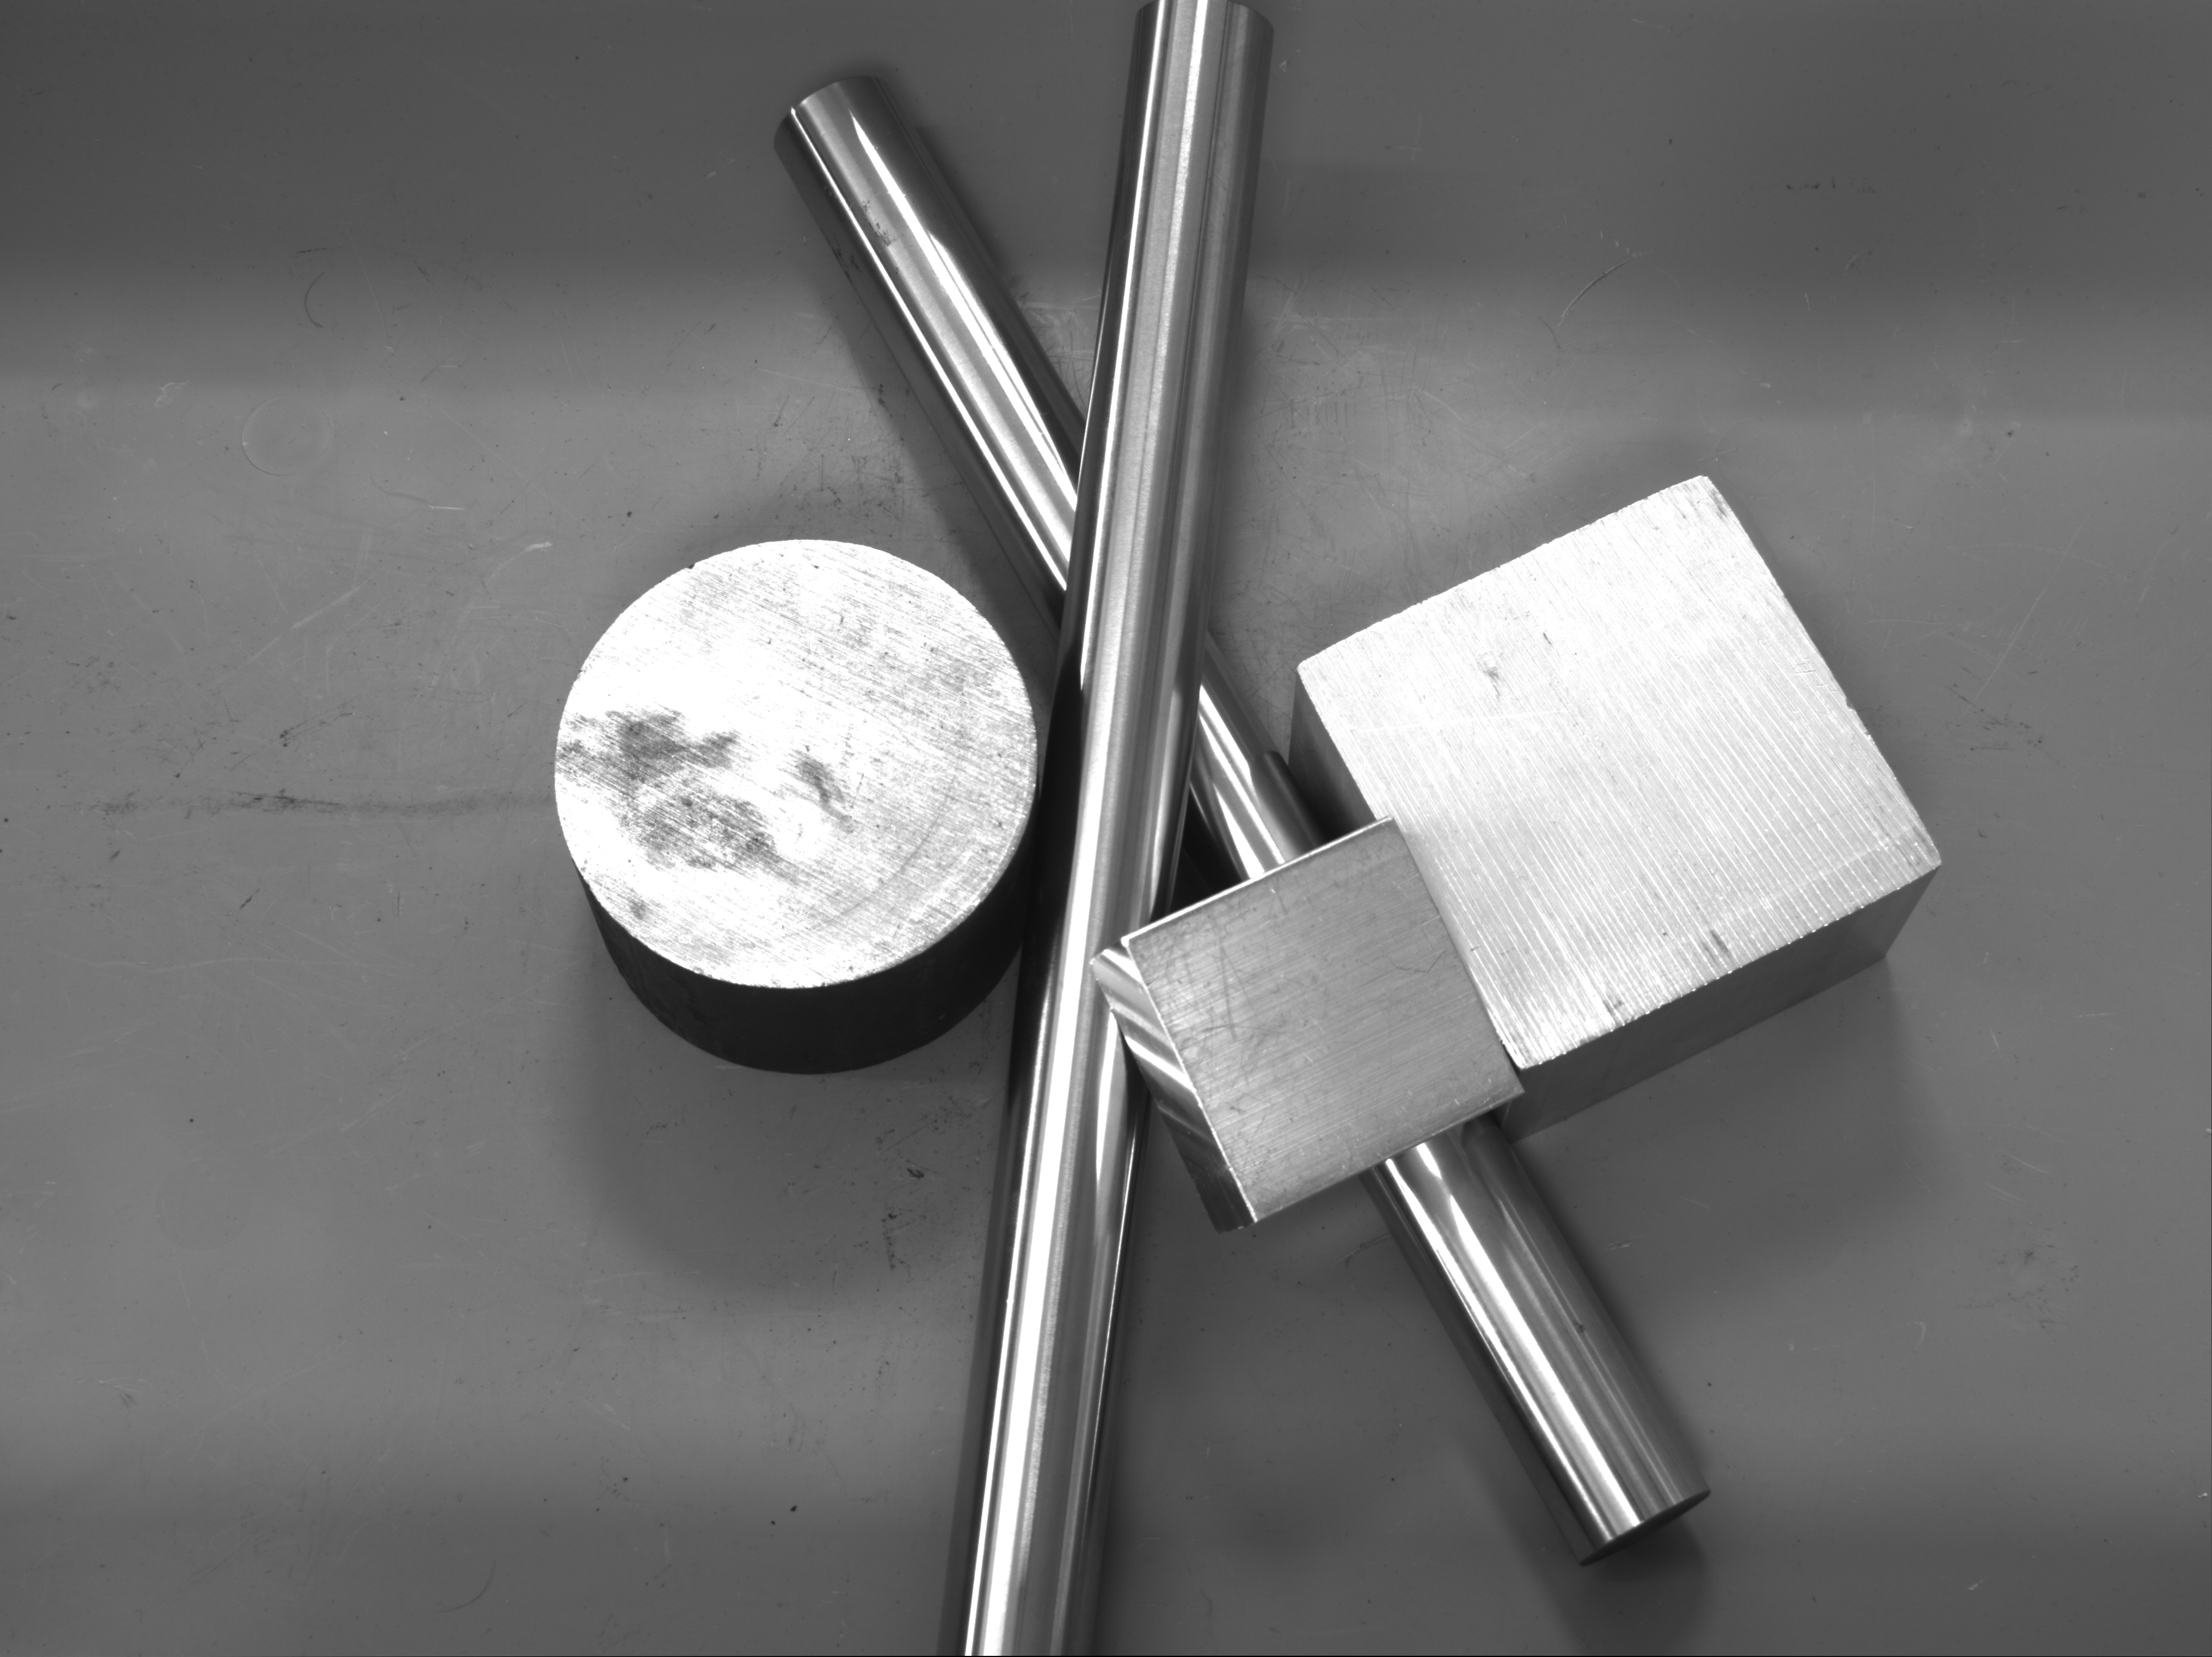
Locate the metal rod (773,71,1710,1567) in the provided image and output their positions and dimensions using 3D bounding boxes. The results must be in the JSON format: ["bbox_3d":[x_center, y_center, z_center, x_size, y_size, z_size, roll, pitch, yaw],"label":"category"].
[{"bbox_3d":[0.018,-0.010,0.647,0.025,0.025,0.300,-26,72,-9],"label":"metal rod"}]

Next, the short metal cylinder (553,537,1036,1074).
[{"bbox_3d":[-0.052,-0.003,0.632,0.080,0.050,0.080,0,70,0],"label":"short metal cylinder"}]

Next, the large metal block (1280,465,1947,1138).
[{"bbox_3d":[0.084,-0.003,0.631,0.080,0.050,0.080,-26,72,-9],"label":"large metal block"}]

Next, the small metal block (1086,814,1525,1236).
[{"bbox_3d":[0.032,0.032,0.598,0.050,0.025,0.050,-24,86,-17],"label":"small metal block"}]

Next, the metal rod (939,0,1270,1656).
[{"bbox_3d":[0.000,0.003,0.622,0.025,0.025,0.300,6,78,2],"label":"metal rod"}]
